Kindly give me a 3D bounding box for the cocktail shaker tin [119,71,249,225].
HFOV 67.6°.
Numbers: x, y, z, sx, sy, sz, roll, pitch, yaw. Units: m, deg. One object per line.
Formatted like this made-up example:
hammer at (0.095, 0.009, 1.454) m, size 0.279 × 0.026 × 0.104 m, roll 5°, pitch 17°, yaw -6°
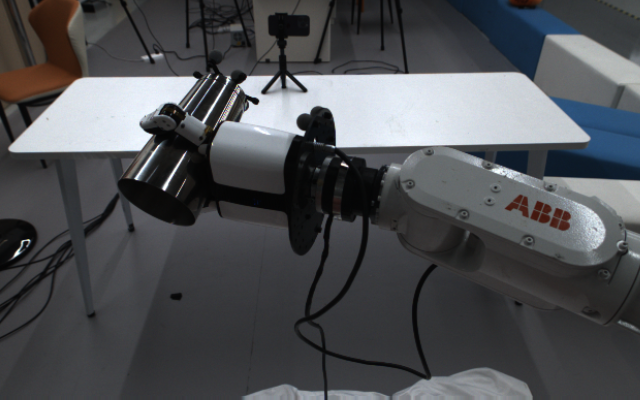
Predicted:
cocktail shaker tin at (-0.150, -0.064, 0.564) m, size 0.093 × 0.093 × 0.170 m, roll 14°, pitch 61°, yaw 17°
